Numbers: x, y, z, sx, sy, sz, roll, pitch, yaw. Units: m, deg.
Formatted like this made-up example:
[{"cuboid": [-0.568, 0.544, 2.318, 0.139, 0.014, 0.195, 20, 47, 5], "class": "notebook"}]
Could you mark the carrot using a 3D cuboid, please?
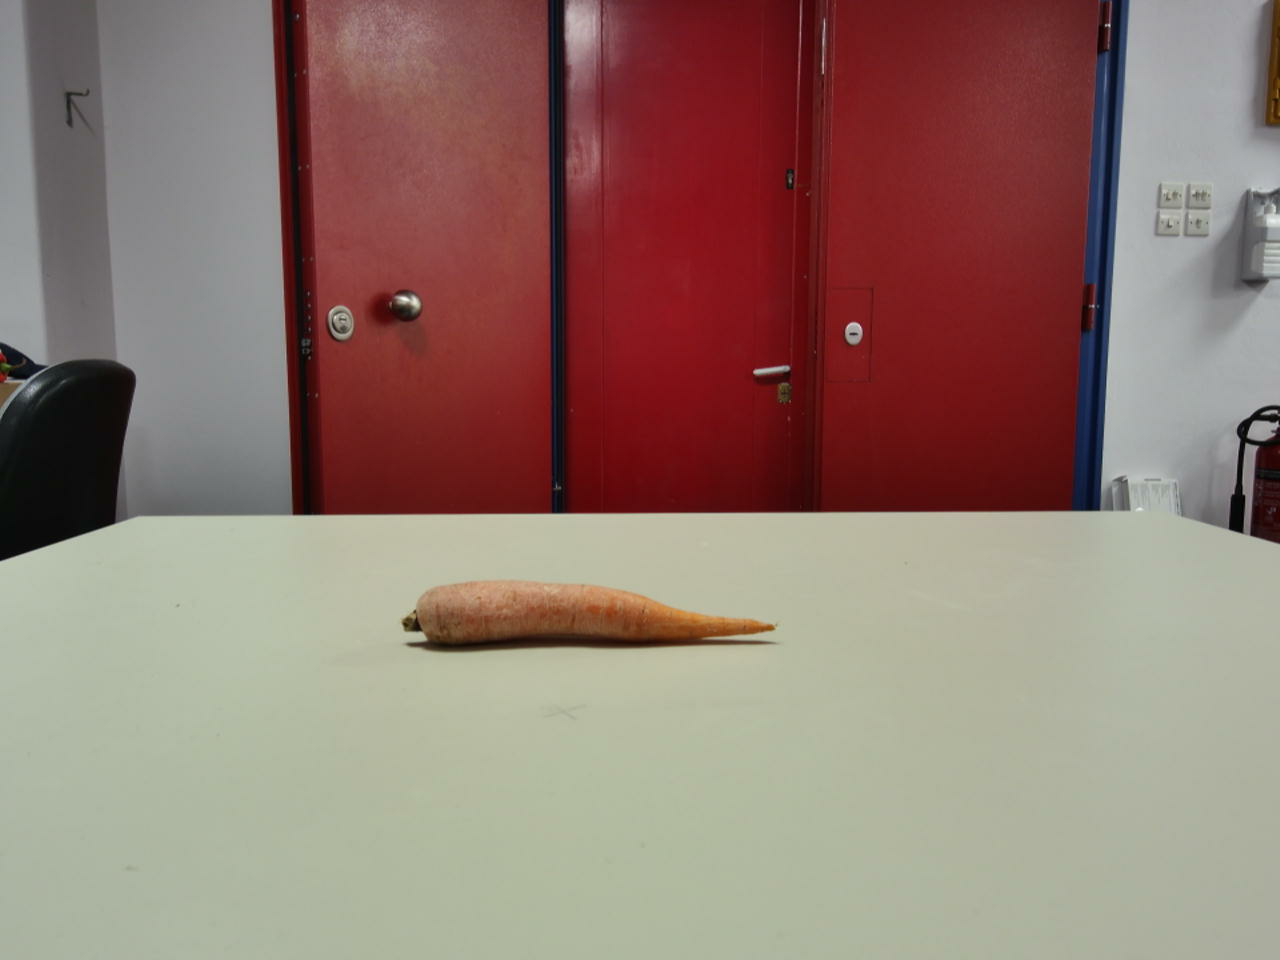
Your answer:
[{"cuboid": [-0.023, 0.059, 0.444, 0.163, 0.029, 0.031, 0, 4, -1], "class": "carrot"}]
